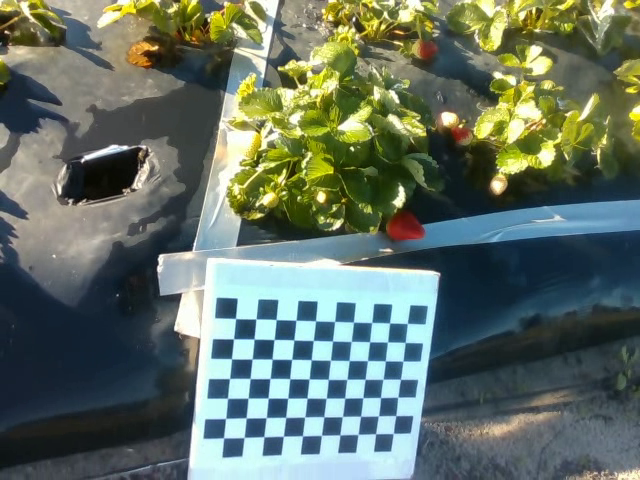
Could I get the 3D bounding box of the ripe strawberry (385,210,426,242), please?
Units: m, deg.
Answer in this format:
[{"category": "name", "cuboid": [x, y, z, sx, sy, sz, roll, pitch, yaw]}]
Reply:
[{"category": "ripe strawberry", "cuboid": [0.110, -0.016, 0.750, 0.048, 0.045, 0.063, 28, 2, -45]}]
